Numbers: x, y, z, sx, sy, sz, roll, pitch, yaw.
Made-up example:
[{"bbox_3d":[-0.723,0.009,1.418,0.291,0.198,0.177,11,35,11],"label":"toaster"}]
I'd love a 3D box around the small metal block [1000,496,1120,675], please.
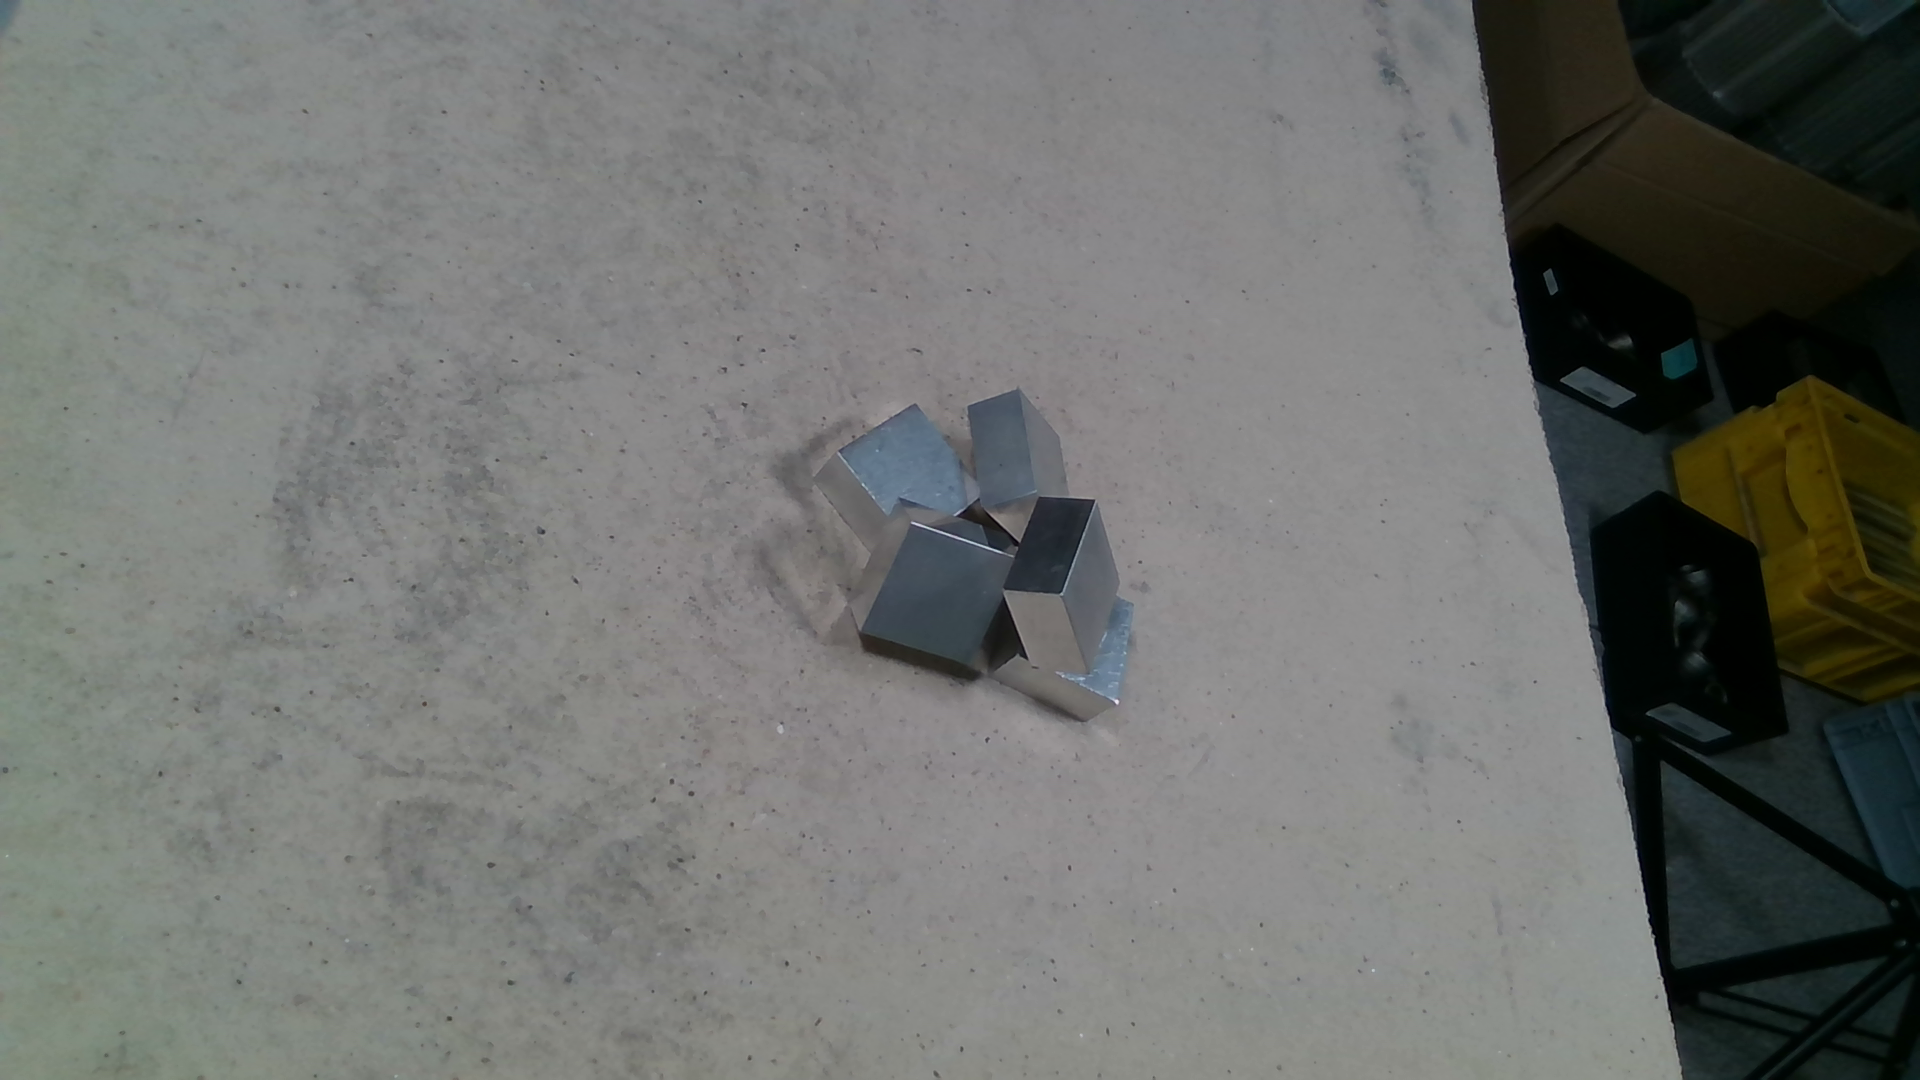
[{"bbox_3d":[0.041,0.018,0.552,0.050,0.025,0.050,68,35,-44],"label":"small metal block"}]

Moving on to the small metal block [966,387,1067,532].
[{"bbox_3d":[0.027,-0.031,0.603,0.050,0.025,0.050,40,38,-59],"label":"small metal block"}]

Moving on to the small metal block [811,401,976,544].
[{"bbox_3d":[-0.026,-0.023,0.583,0.050,0.025,0.050,52,51,2],"label":"small metal block"}]

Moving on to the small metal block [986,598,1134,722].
[{"bbox_3d":[0.043,0.043,0.590,0.050,0.025,0.050,27,54,-17],"label":"small metal block"}]

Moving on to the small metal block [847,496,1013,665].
[{"bbox_3d":[-0.010,0.017,0.552,0.050,0.050,0.025,19,18,-23],"label":"small metal block"}]

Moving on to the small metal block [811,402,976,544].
[{"bbox_3d":[-0.025,-0.023,0.583,0.050,0.025,0.050,51,51,2],"label":"small metal block"}]
